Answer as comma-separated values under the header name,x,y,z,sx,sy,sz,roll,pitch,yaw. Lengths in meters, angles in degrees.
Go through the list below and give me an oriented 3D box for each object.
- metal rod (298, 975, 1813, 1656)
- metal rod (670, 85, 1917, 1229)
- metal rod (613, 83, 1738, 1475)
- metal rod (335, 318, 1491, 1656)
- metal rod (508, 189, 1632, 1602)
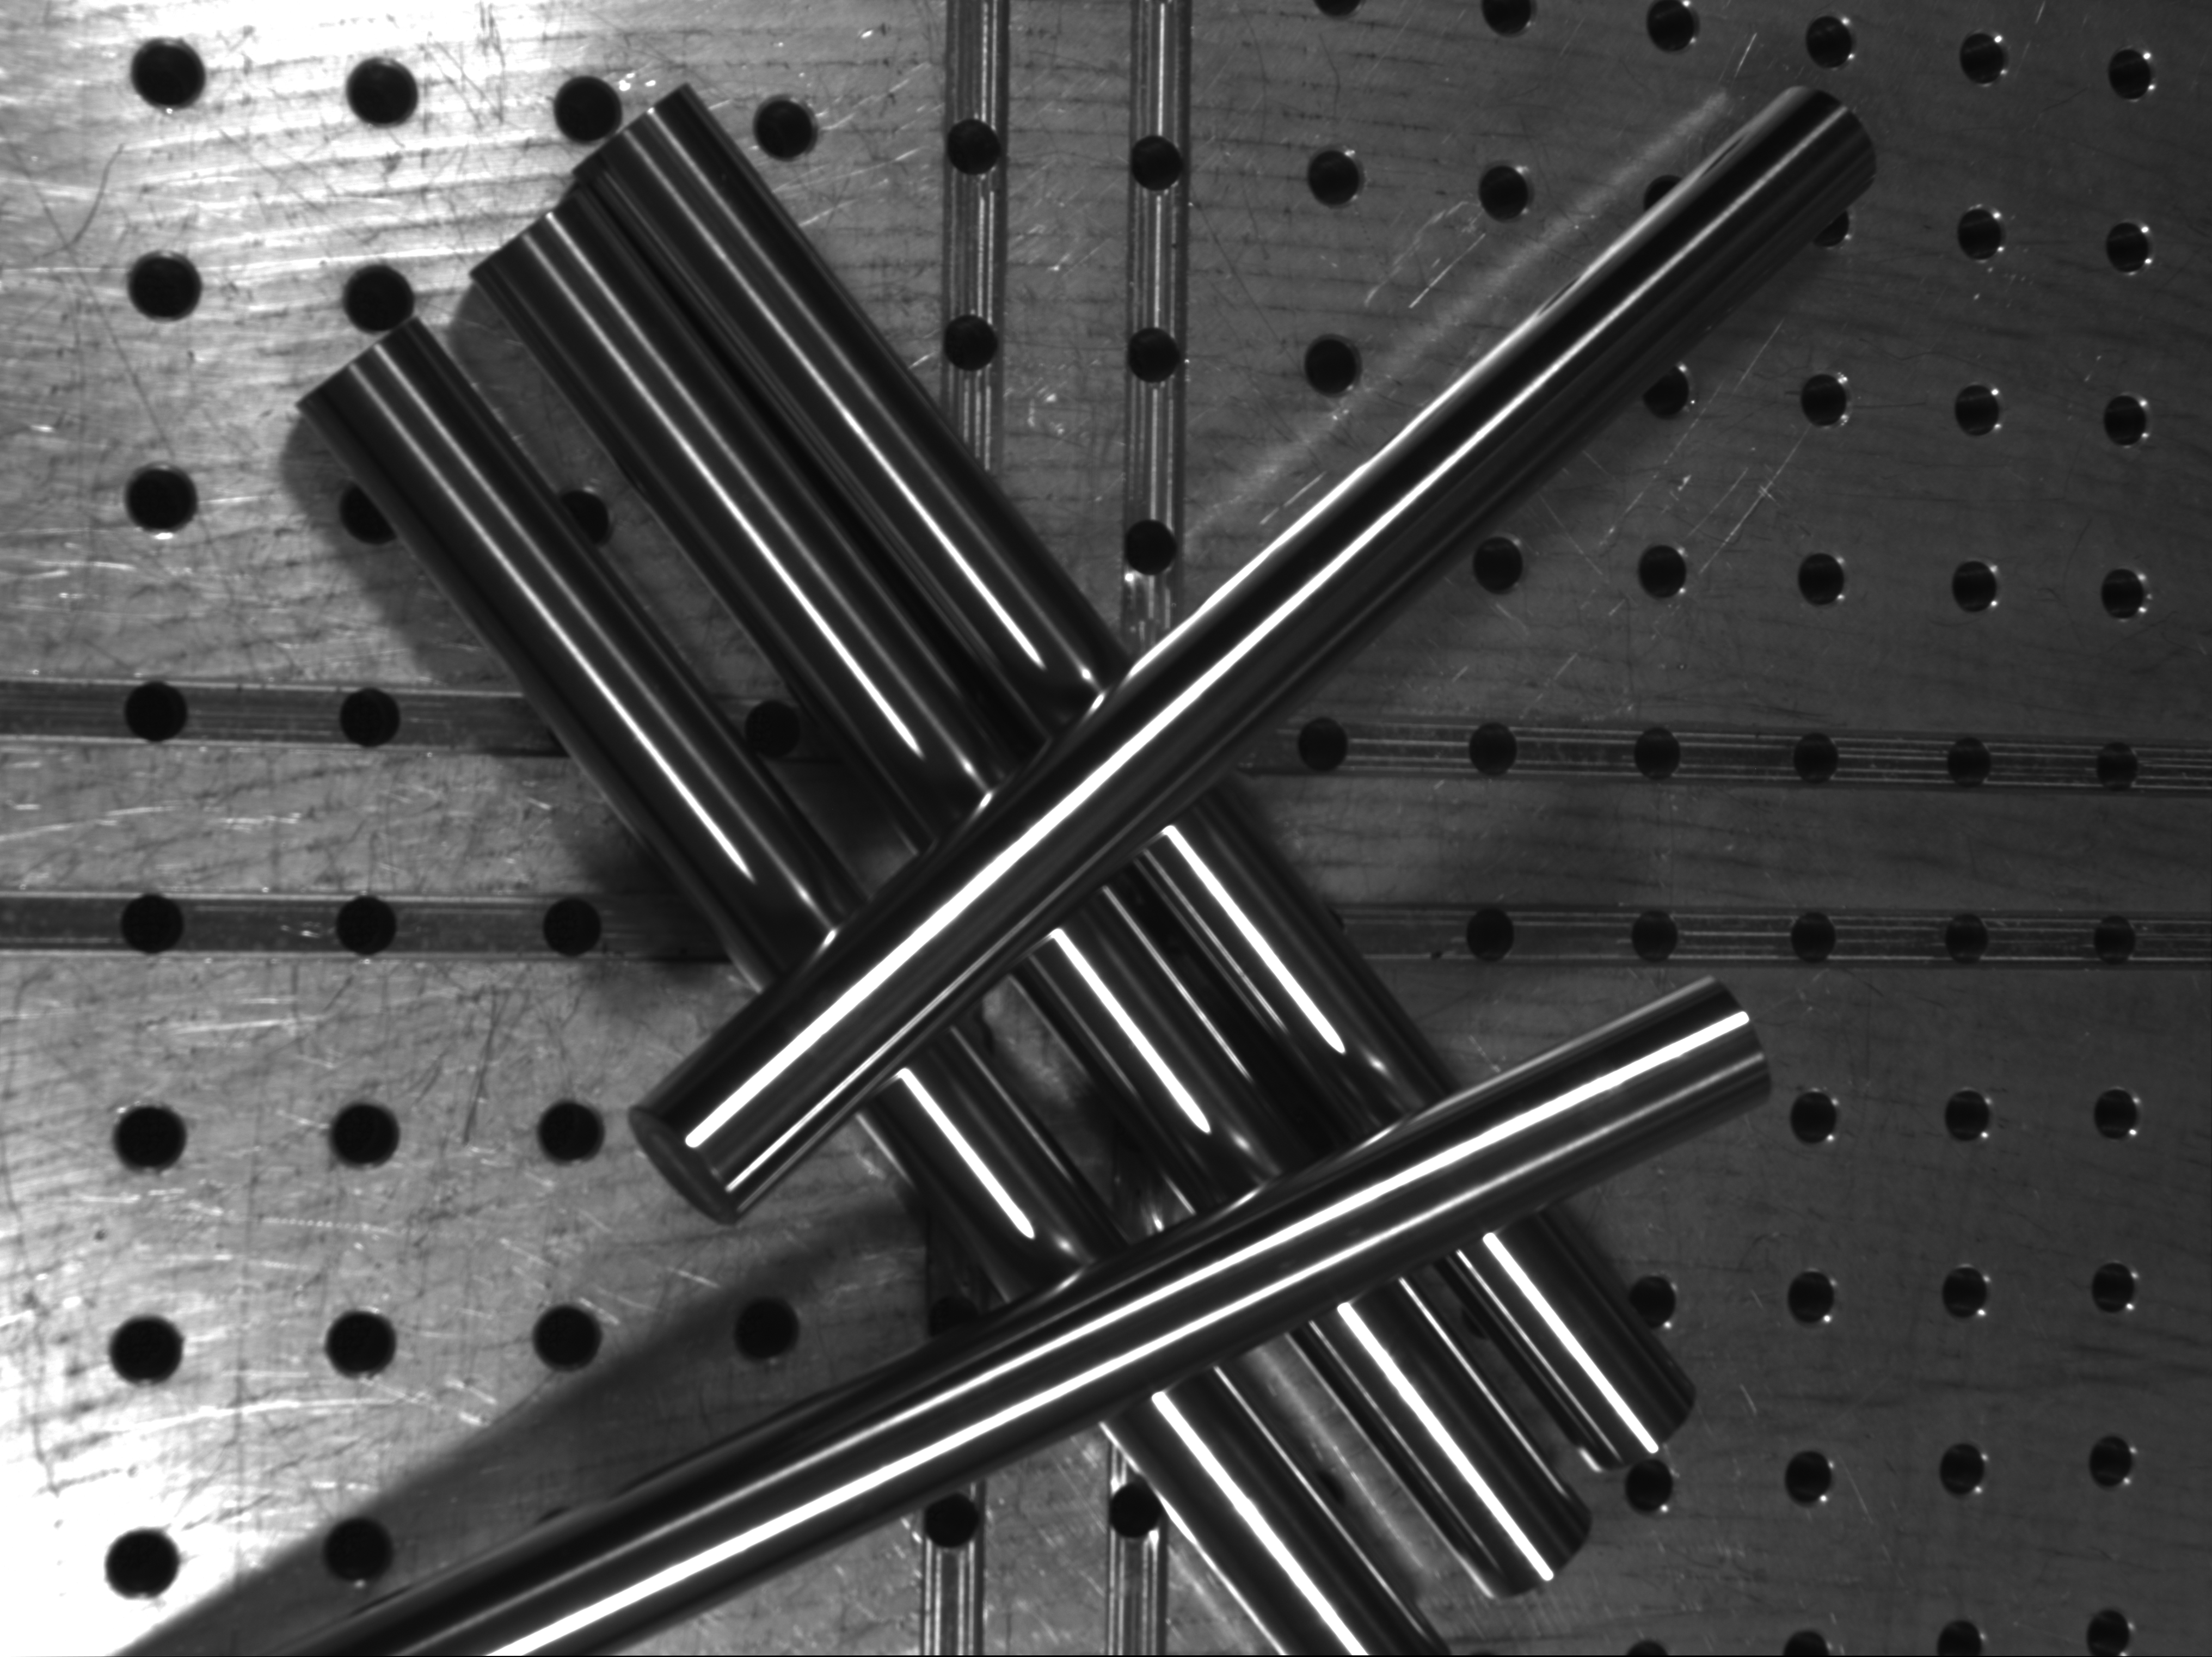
name,x,y,z,sx,sy,sz,roll,pitch,yaw
metal rod,-0.017,0.098,0.617,0.300,0.025,0.025,-24,98,-10
metal rod,0.042,-0.039,0.639,0.300,0.025,0.025,-42,103,-23
metal rod,0.017,-0.003,0.652,0.025,0.025,0.300,-42,103,-15
metal rod,-0.028,0.040,0.635,0.025,0.025,0.300,-41,103,-15
metal rod,-0.002,0.017,0.645,0.025,0.025,0.300,-41,103,-15
